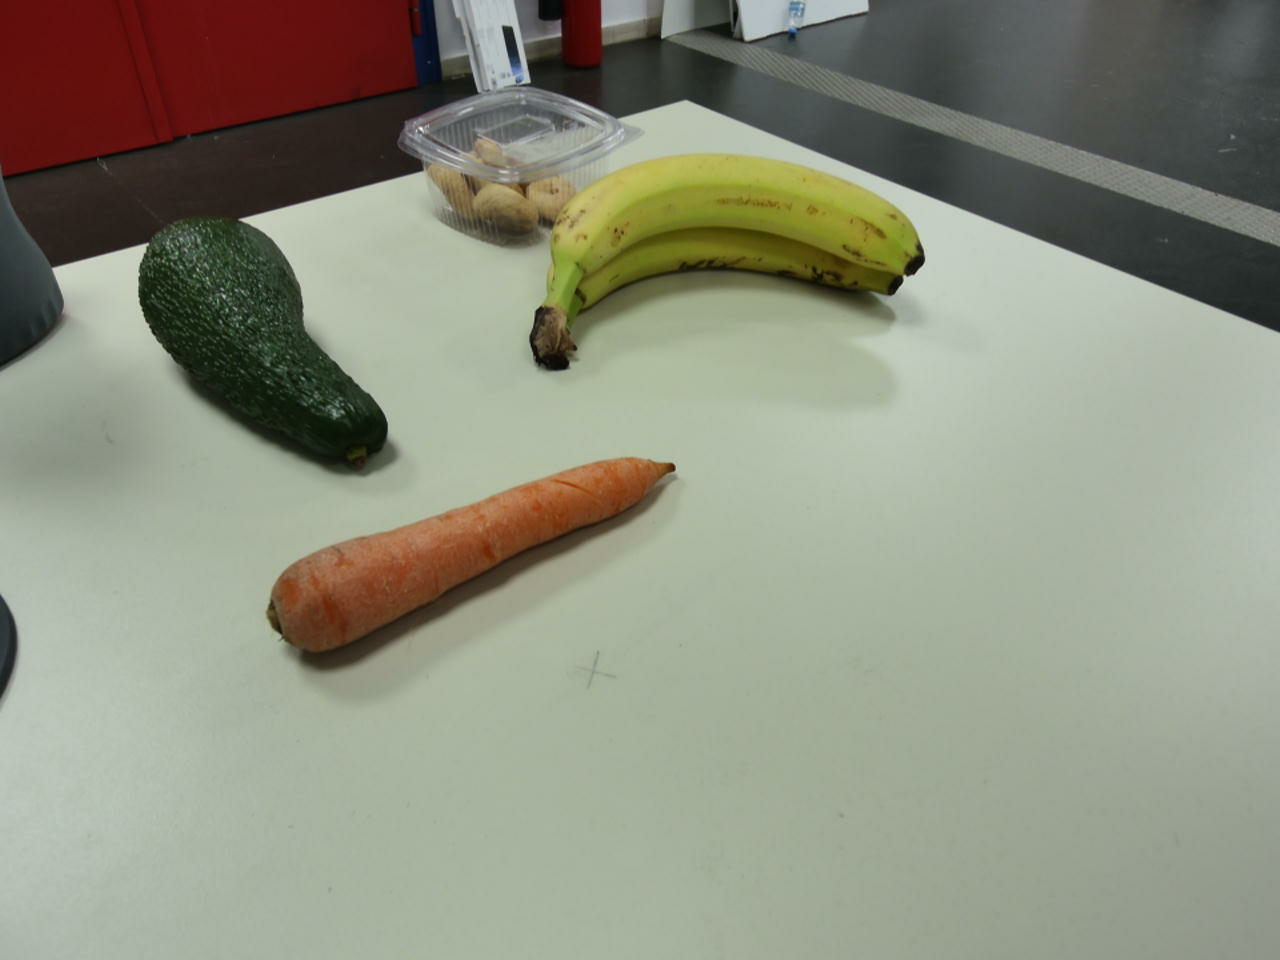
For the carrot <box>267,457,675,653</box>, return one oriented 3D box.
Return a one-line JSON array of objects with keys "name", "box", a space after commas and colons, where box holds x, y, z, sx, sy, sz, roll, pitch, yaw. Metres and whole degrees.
[{"name": "carrot", "box": [-0.063, 0.019, 0.427, 0.196, 0.041, 0.039, -26, 44, -31]}]
